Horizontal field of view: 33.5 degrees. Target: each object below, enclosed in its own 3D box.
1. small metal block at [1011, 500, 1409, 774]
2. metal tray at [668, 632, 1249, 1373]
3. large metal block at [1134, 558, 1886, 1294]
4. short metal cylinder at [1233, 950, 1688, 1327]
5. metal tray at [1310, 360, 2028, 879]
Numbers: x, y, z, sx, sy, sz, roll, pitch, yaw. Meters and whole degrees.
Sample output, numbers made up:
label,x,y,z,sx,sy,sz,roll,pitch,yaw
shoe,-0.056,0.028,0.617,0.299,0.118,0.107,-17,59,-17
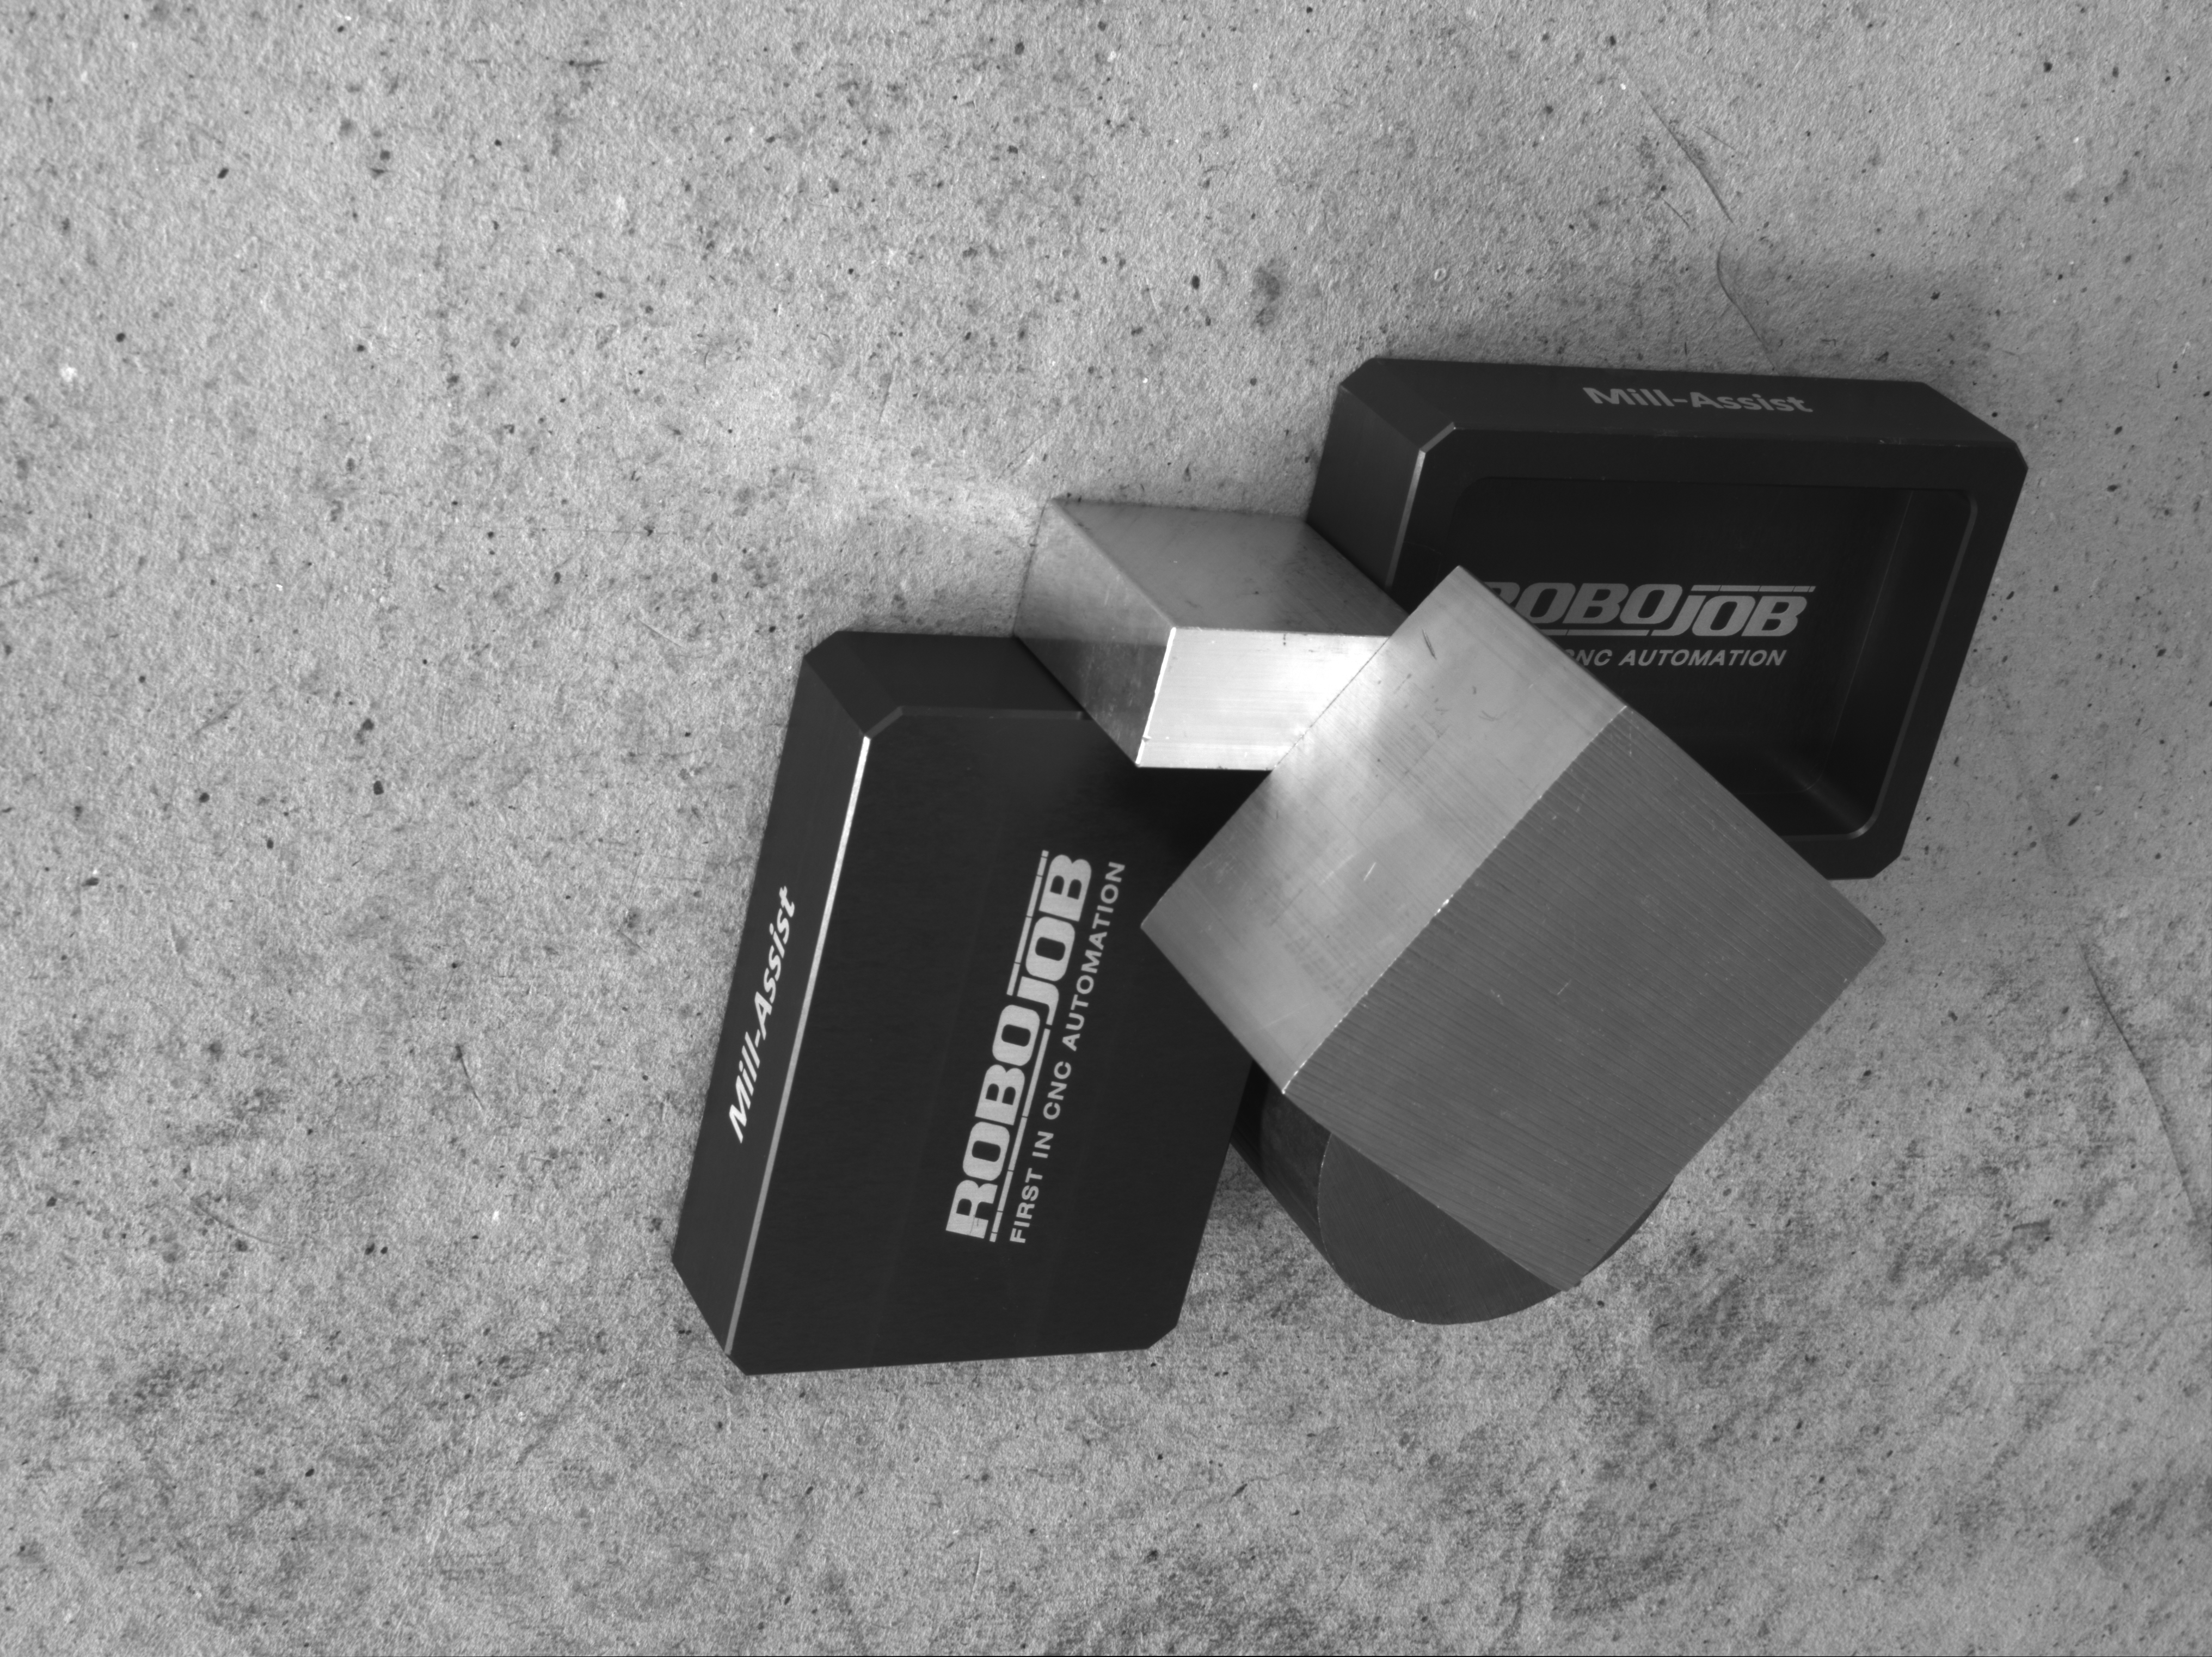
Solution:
label,x,y,z,sx,sy,sz,roll,pitch,yaw
small metal block,0.019,-0.032,0.613,0.050,0.050,0.025,1,118,-28
metal tray,-0.019,0.032,0.645,0.090,0.030,0.130,1,118,-28
large metal block,0.066,0.017,0.602,0.080,0.050,0.080,-48,129,6
short metal cylinder,0.064,0.045,0.683,0.080,0.050,0.080,-13,124,-20
metal tray,0.096,-0.035,0.665,0.130,0.030,0.090,-2,119,-27
